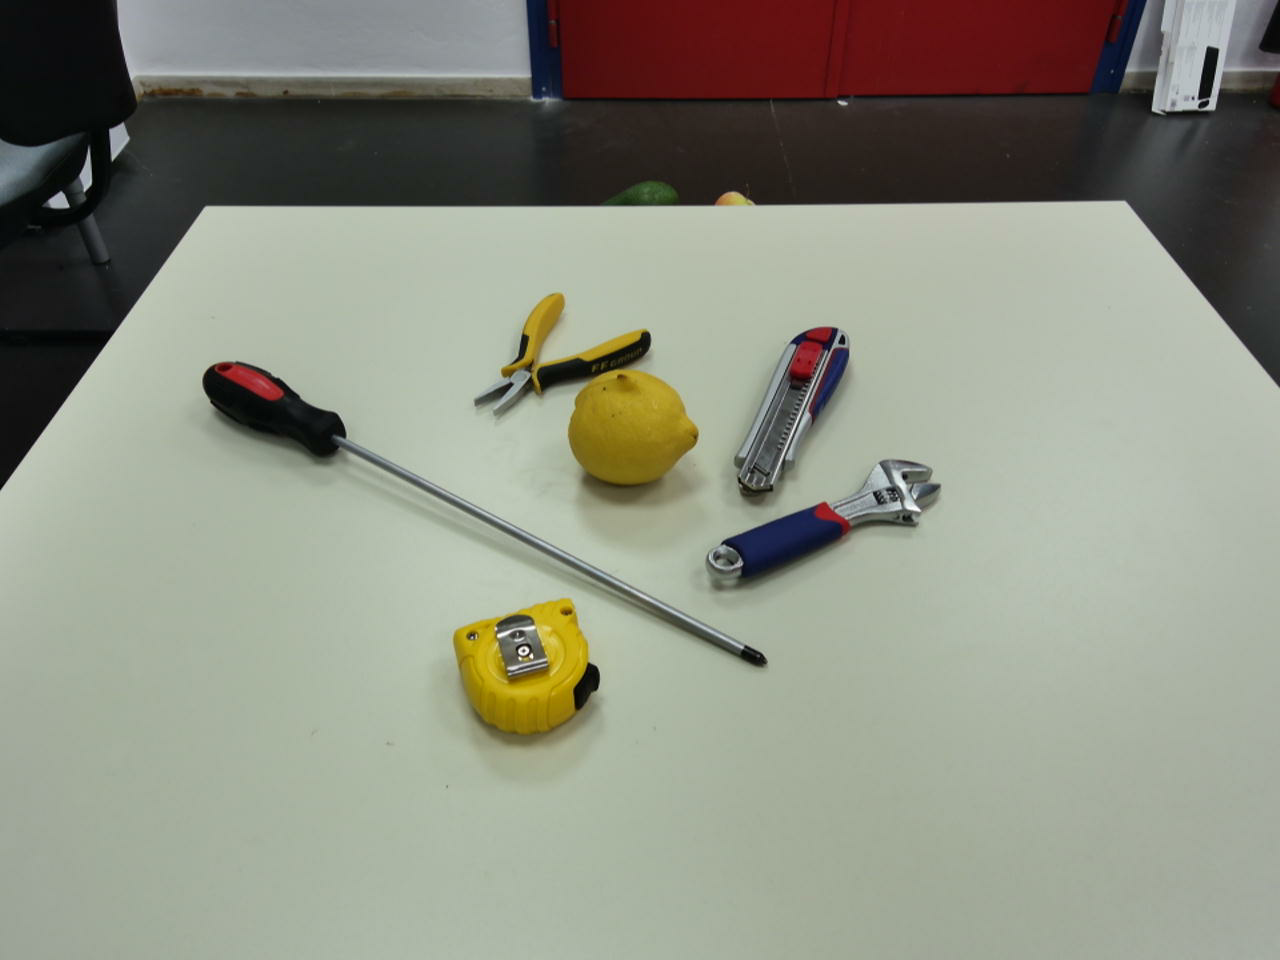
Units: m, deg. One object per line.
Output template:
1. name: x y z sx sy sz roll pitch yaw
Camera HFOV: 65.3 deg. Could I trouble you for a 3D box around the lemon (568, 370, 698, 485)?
1. lemon: -0.007 -0.034 0.592 0.070 0.071 0.071 -22 45 -26
